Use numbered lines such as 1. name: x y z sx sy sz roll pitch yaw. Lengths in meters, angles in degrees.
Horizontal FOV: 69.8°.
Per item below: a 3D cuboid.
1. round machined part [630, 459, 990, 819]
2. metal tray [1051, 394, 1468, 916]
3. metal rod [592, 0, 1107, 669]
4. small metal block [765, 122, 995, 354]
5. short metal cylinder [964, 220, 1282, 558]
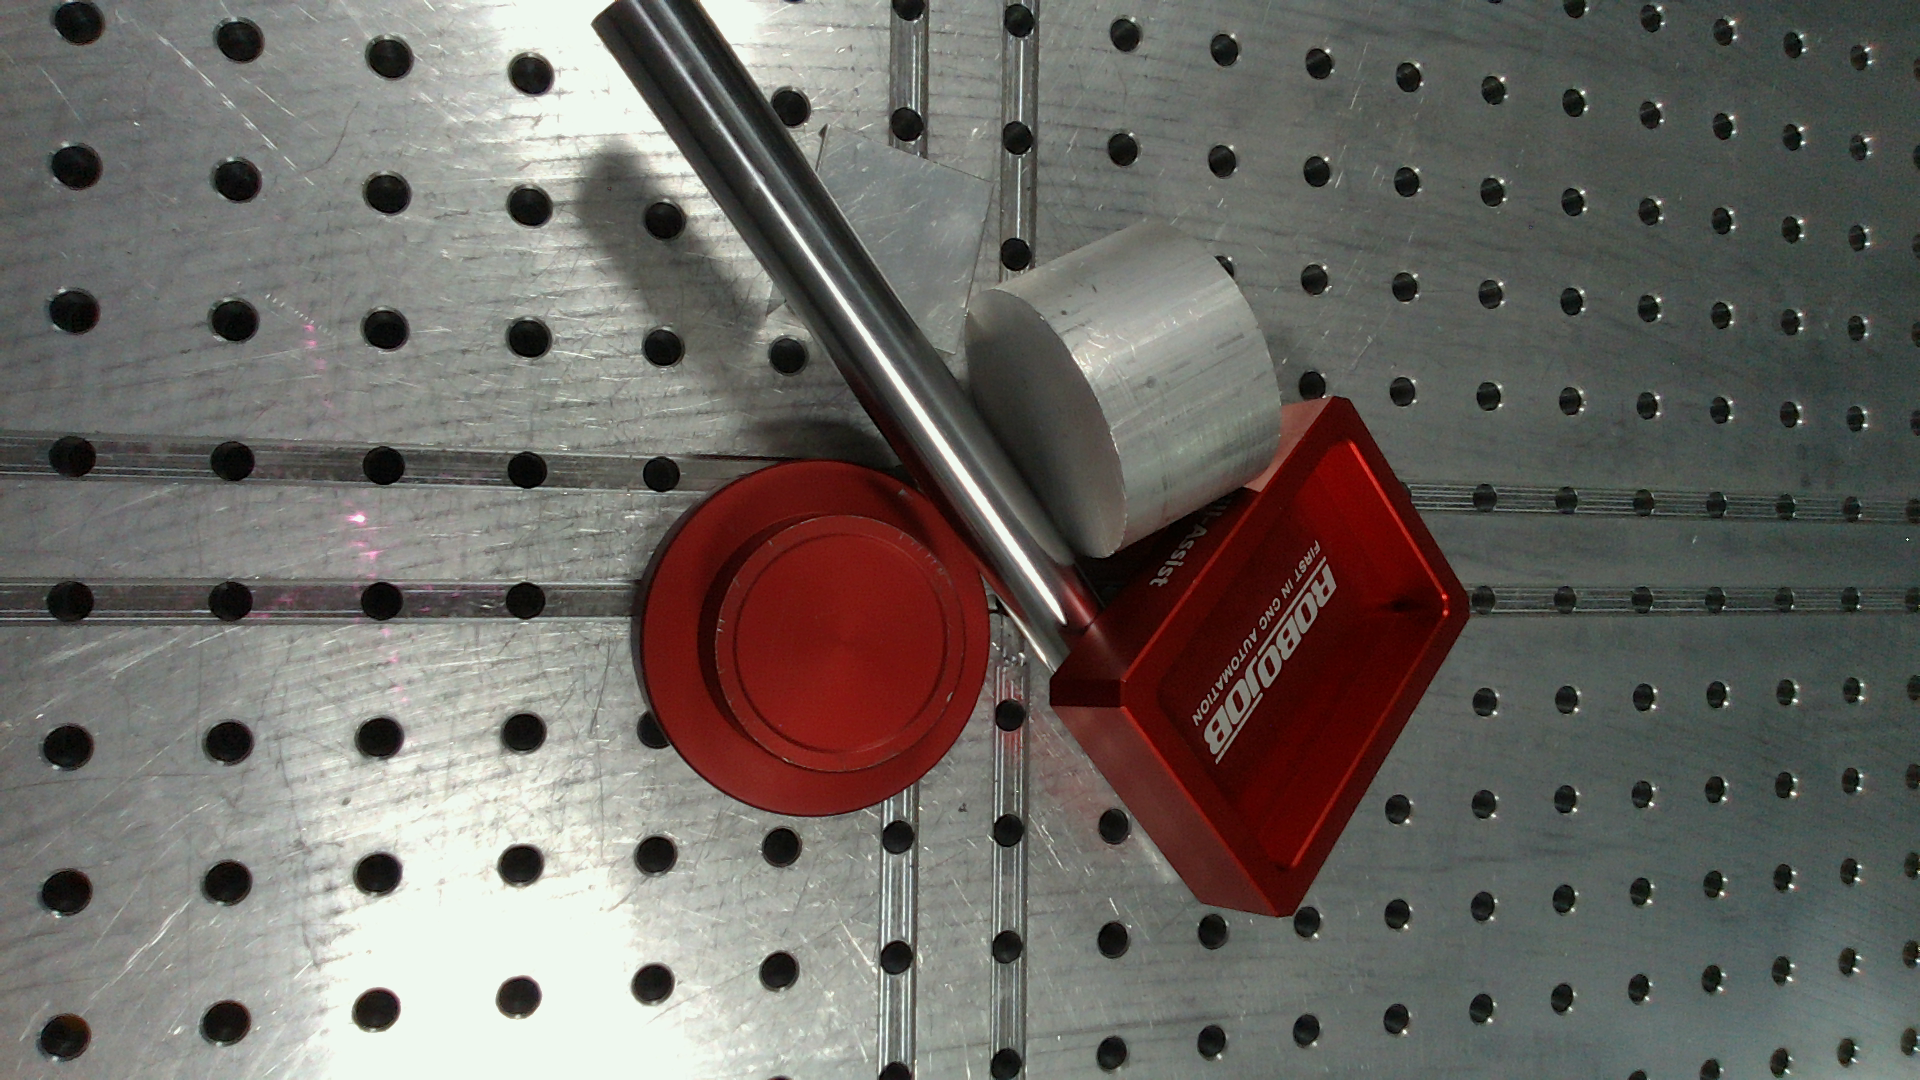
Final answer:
1. round machined part: -0.037 0.027 0.372 0.098 0.042 0.098 0 90 -20
2. metal tray: 0.093 0.031 0.405 0.130 0.030 0.090 -49 113 -29
3. metal rod: 0.004 -0.015 0.380 0.025 0.025 0.300 -41 111 -15
4. small metal block: -0.023 -0.082 0.388 0.050 0.025 0.050 14 85 -19
5. short metal cylinder: 0.043 -0.042 0.382 0.050 0.080 0.080 -26 99 -18
